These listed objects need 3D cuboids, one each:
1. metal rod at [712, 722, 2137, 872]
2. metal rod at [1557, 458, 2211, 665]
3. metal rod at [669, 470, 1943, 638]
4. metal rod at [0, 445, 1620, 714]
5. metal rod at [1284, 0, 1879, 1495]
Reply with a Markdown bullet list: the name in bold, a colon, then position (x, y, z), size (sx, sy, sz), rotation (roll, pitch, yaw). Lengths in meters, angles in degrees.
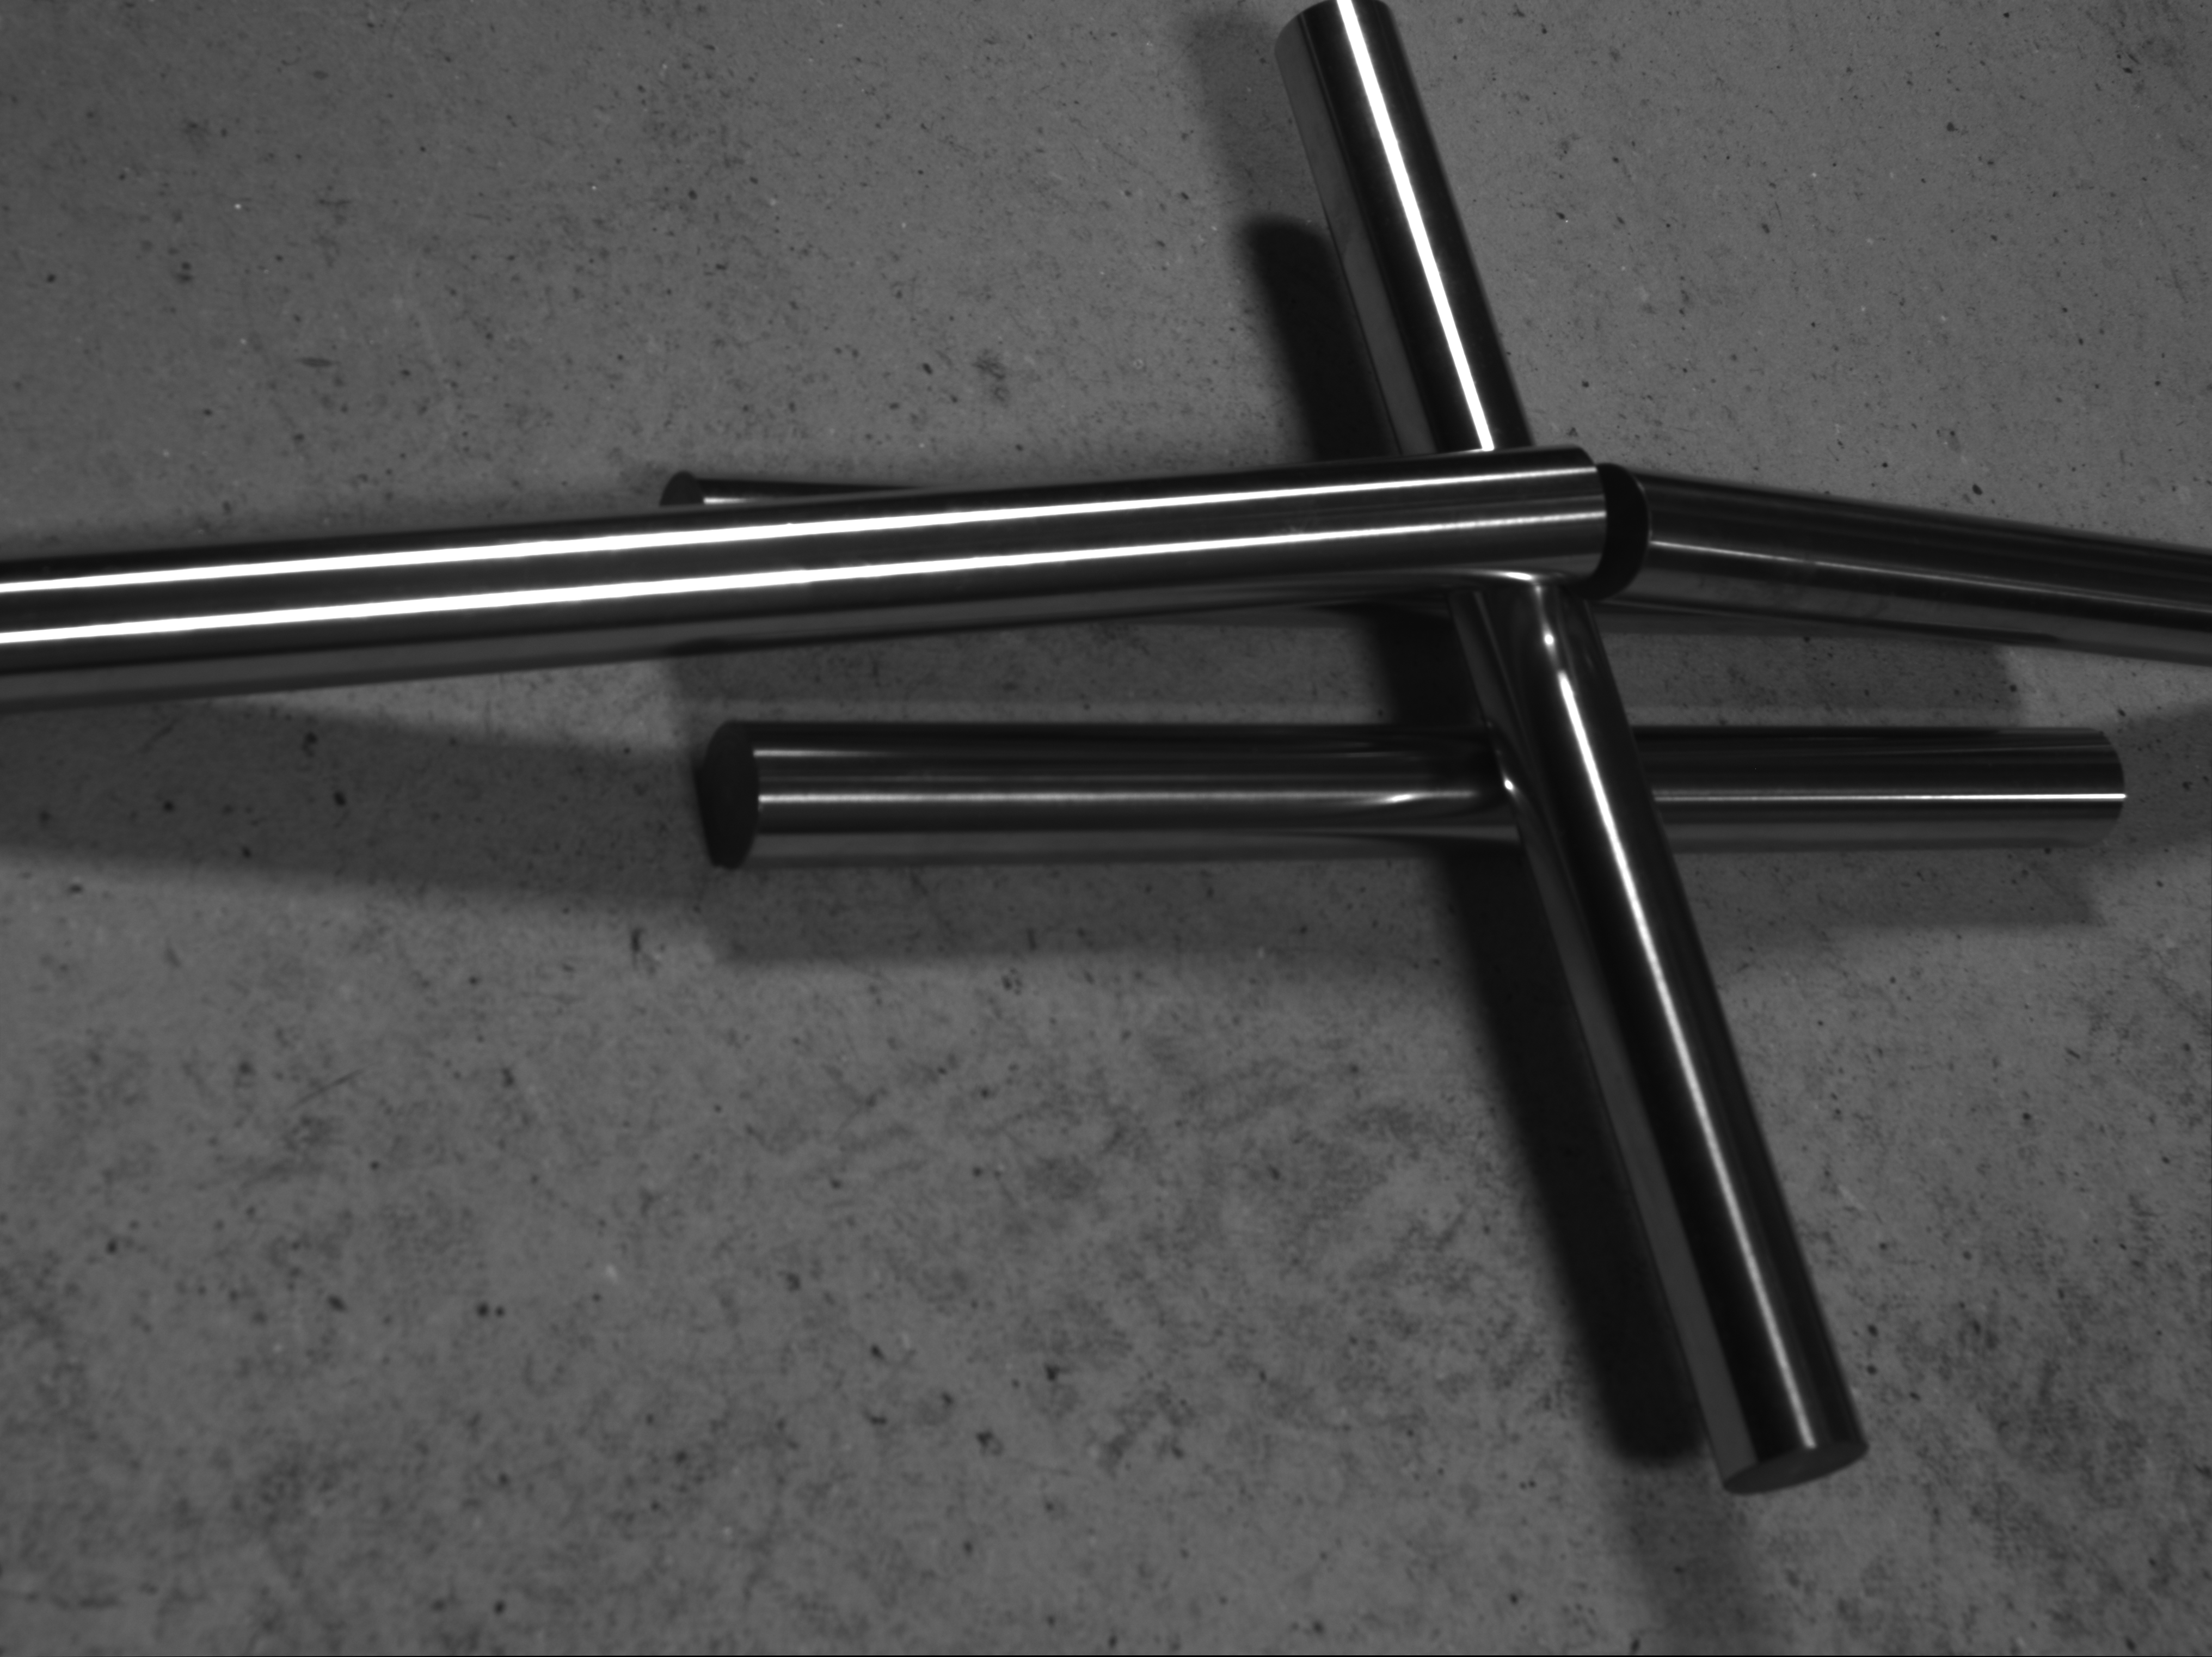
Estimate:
- **metal rod**: position (0.071, -0.007, 0.682), size (0.301, 0.025, 0.025), rotation (-1, 62, -29)
- **metal rod**: position (0.208, -0.048, 0.749), size (0.301, 0.025, 0.025), rotation (3, 60, -38)
- **metal rod**: position (0.060, -0.051, 0.703), size (0.301, 0.025, 0.025), rotation (-1, 62, -29)
- **metal rod**: position (-0.054, -0.042, 0.604), size (0.301, 0.025, 0.025), rotation (-6, 64, -20)
- **metal rod**: position (0.082, -0.026, 0.668), size (0.025, 0.025, 0.300), rotation (0, 62, -28)
